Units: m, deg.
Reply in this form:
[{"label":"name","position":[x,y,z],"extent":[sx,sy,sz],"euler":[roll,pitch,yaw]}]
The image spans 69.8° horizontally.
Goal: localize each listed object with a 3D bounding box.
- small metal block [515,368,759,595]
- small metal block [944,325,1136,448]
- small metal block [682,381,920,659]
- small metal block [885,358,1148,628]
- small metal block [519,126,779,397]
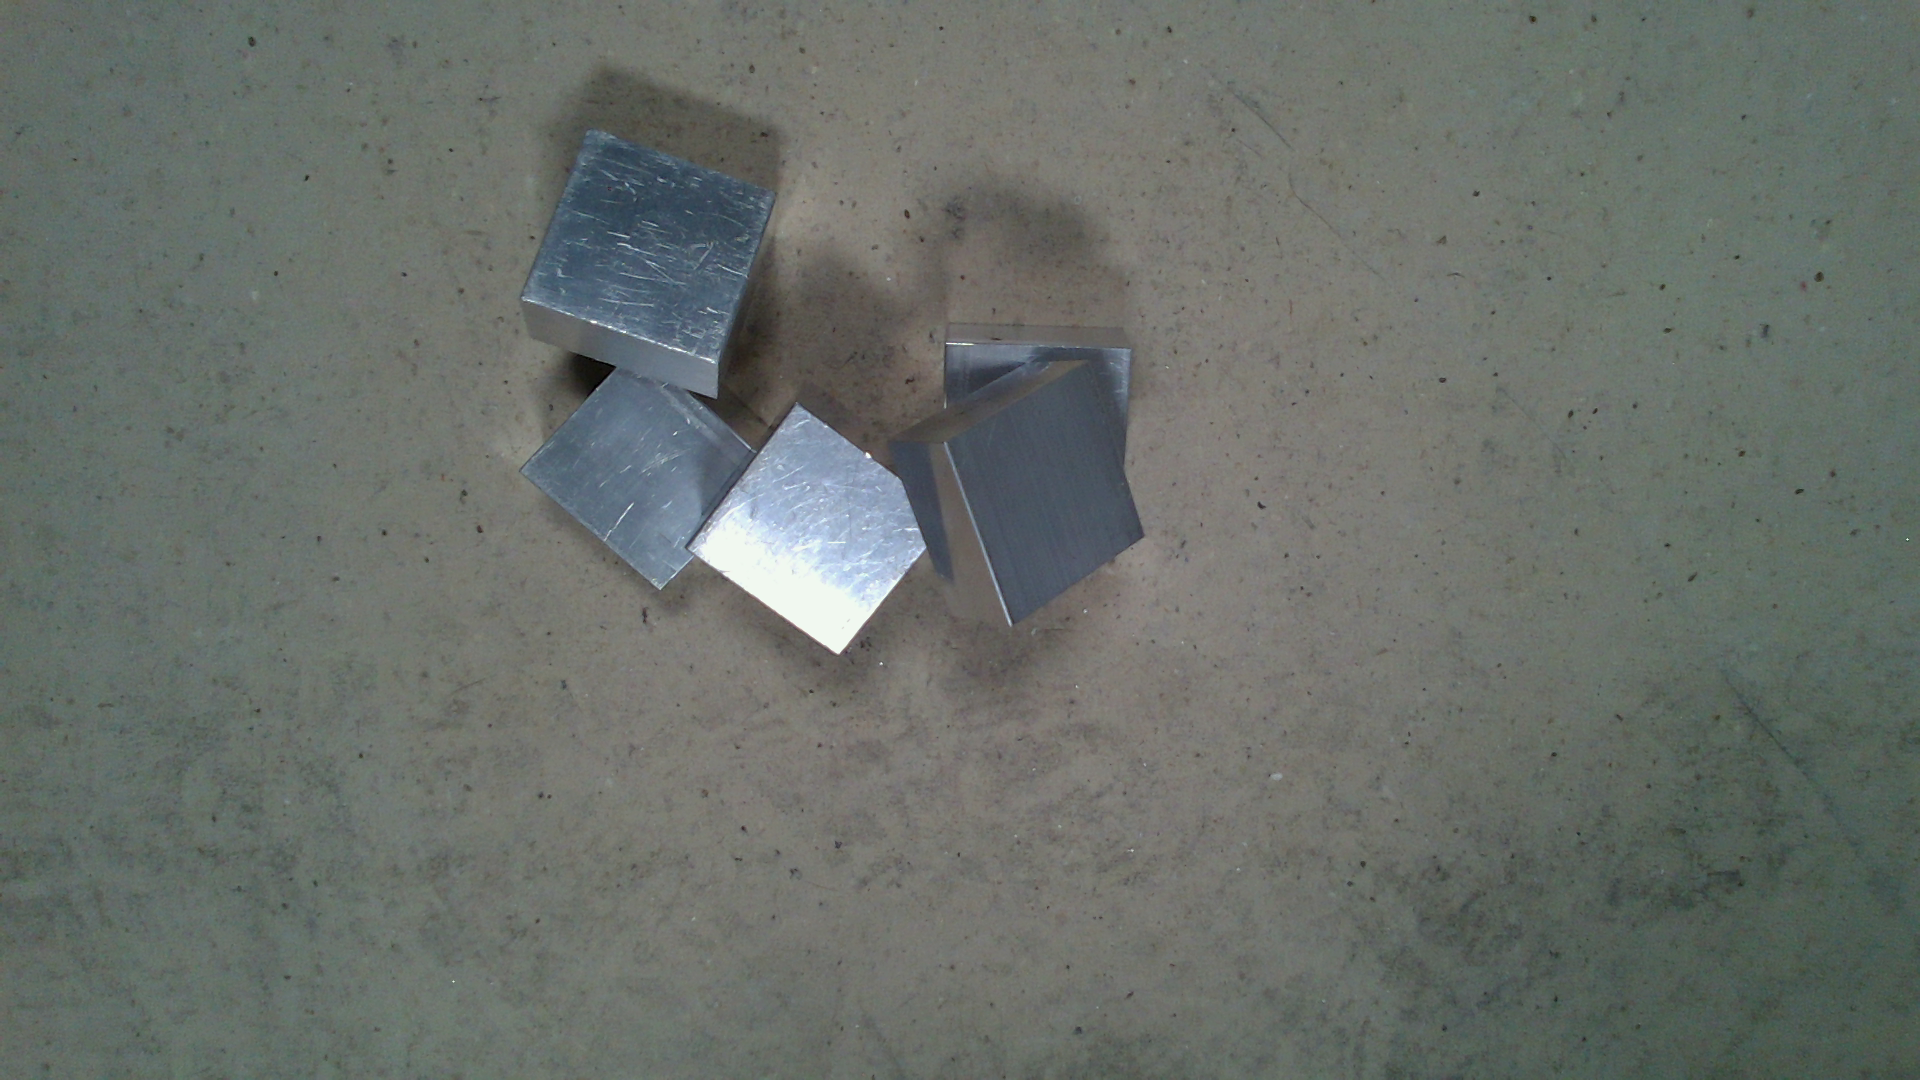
[{"label":"small metal block","position":[-0.085,-0.022,0.385],"extent":[0.050,0.025,0.050],"euler":[-43,105,14]},{"label":"small metal block","position":[0.021,-0.033,0.382],"extent":[0.050,0.025,0.050],"euler":[2,110,-1]},{"label":"small metal block","position":[-0.036,-0.006,0.364],"extent":[0.050,0.025,0.050],"euler":[36,106,-12]},{"label":"small metal block","position":[0.015,-0.013,0.349],"extent":[0.050,0.025,0.050],"euler":[-32,113,-31]},{"label":"small metal block","position":[-0.079,-0.071,0.355],"extent":[0.050,0.025,0.050],"euler":[18,73,-7]}]
